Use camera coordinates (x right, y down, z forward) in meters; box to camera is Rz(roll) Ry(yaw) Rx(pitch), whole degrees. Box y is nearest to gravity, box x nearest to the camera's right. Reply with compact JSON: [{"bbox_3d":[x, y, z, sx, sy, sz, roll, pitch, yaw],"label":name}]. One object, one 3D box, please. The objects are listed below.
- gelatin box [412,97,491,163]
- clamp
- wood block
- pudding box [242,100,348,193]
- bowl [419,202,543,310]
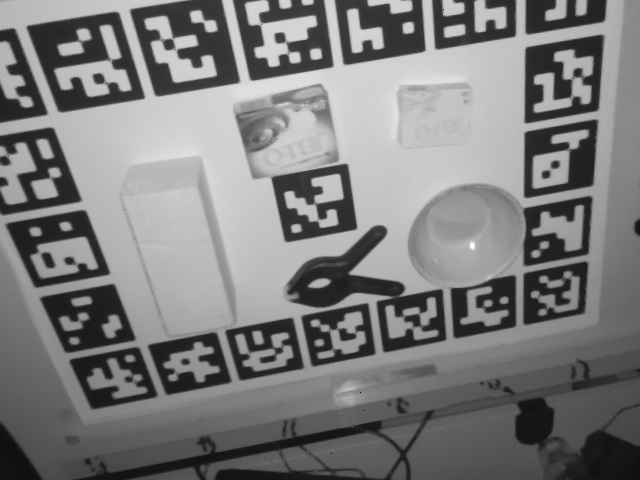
[{"bbox_3d":[0.157,-0.133,0.838,0.090,0.030,0.072,-3,117,-5],"label":"gelatin box"},{"bbox_3d":[0.053,0.069,0.943,0.165,0.037,0.121,-18,119,6],"label":"clamp"},{"bbox_3d":[-0.167,0.027,0.854,0.090,0.091,0.205,-7,119,-1],"label":"wood block"},{"bbox_3d":[-0.028,-0.112,0.825,0.114,0.039,0.089,-11,115,-3],"label":"pudding box"},{"bbox_3d":[0.207,0.011,0.918,0.162,0.055,0.160,-2,116,-4],"label":"bowl"}]
